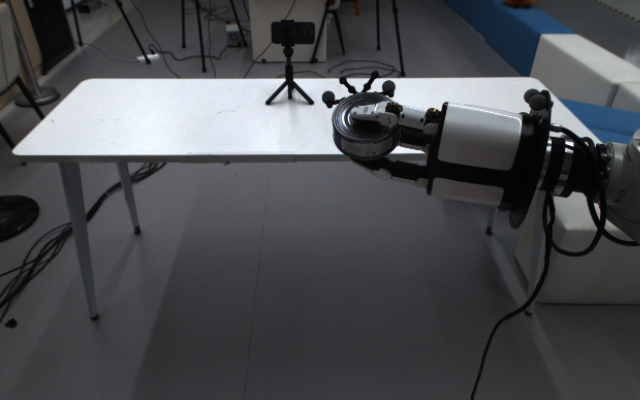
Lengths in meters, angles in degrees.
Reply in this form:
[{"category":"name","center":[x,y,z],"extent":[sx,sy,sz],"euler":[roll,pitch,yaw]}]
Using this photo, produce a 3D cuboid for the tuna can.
[{"category":"tuna can","center":[0.063,-0.087,0.600],"extent":[0.085,0.034,0.085],"euler":[-3,59,5]}]
